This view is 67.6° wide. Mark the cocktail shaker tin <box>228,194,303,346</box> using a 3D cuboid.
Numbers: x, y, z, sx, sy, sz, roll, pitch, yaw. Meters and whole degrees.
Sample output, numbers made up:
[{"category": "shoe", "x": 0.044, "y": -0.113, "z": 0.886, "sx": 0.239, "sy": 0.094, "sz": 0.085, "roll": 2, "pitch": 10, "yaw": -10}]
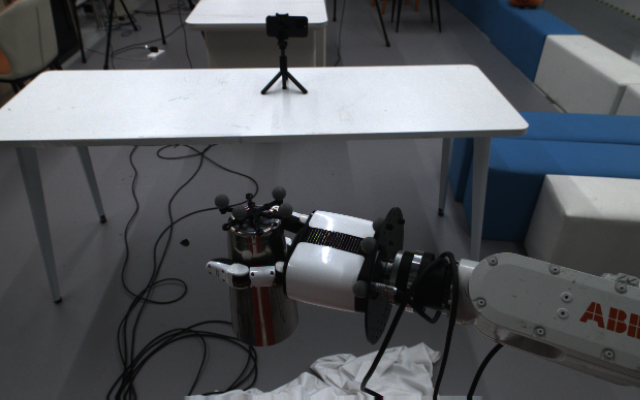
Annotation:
[{"category": "cocktail shaker tin", "x": -0.073, "y": 0.092, "z": 0.625, "sx": 0.093, "sy": 0.170, "sz": 0.093, "roll": -1, "pitch": 32, "yaw": 1}]
